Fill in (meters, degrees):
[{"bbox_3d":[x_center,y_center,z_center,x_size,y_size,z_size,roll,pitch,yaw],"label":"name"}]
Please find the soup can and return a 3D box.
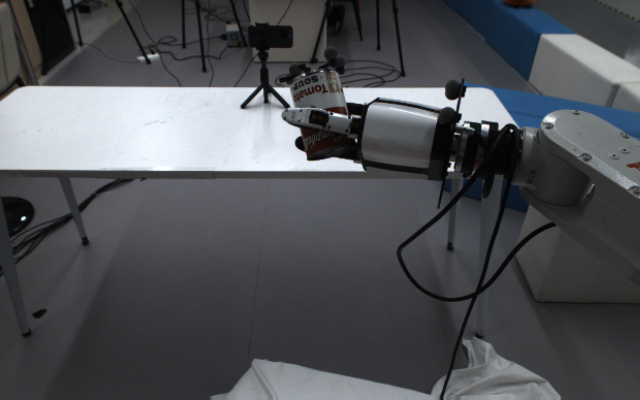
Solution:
[{"bbox_3d":[0.004,-0.108,0.625,0.067,0.101,0.067,-14,-2,-1],"label":"soup can"}]
